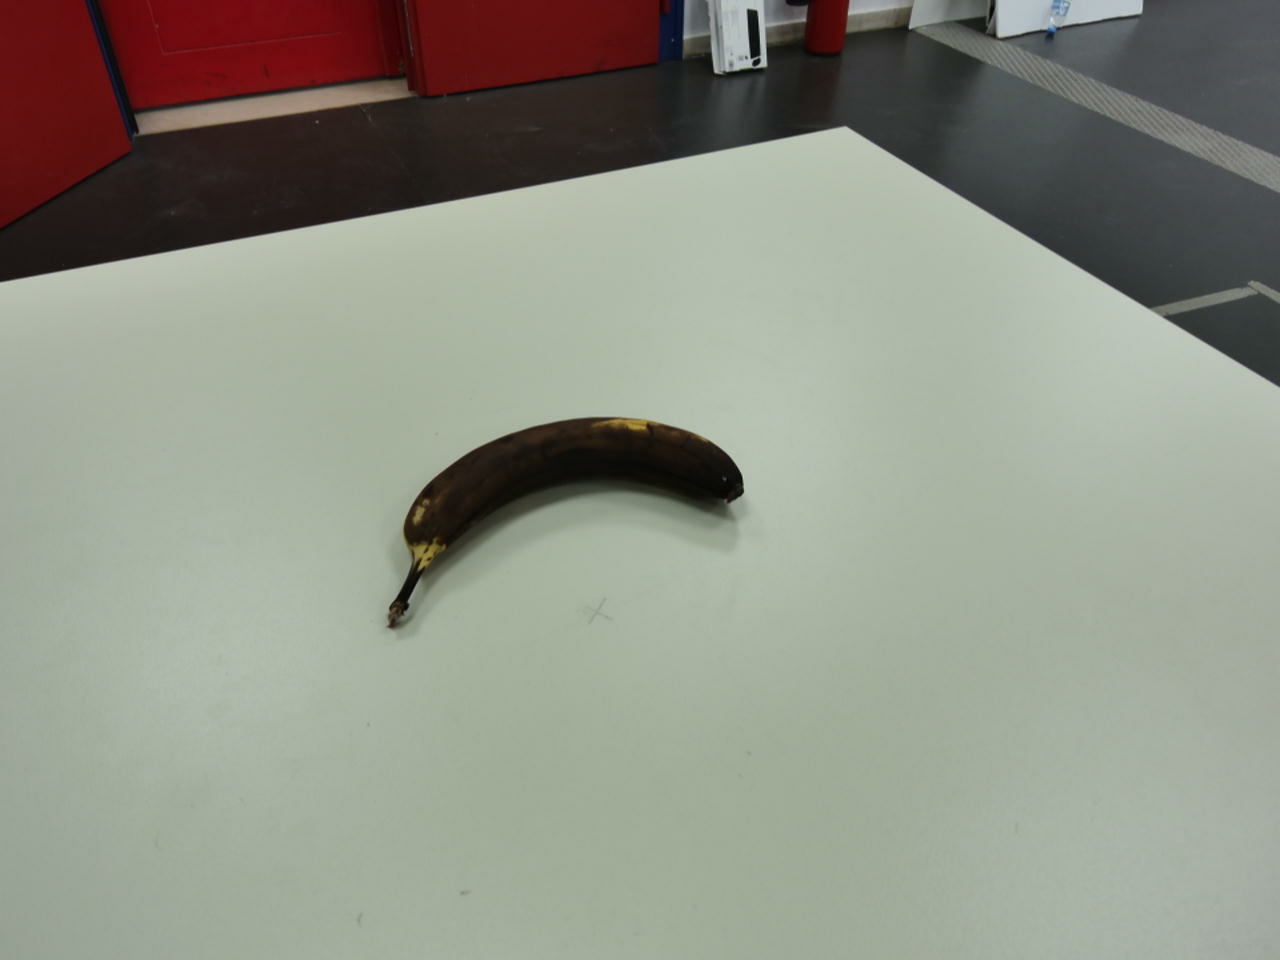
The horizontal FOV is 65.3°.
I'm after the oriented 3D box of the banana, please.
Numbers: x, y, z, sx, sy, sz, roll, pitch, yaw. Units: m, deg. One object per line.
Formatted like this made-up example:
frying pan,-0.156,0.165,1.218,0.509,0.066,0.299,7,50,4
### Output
banana,-0.045,0.004,0.505,0.188,0.034,0.091,-15,41,-19
